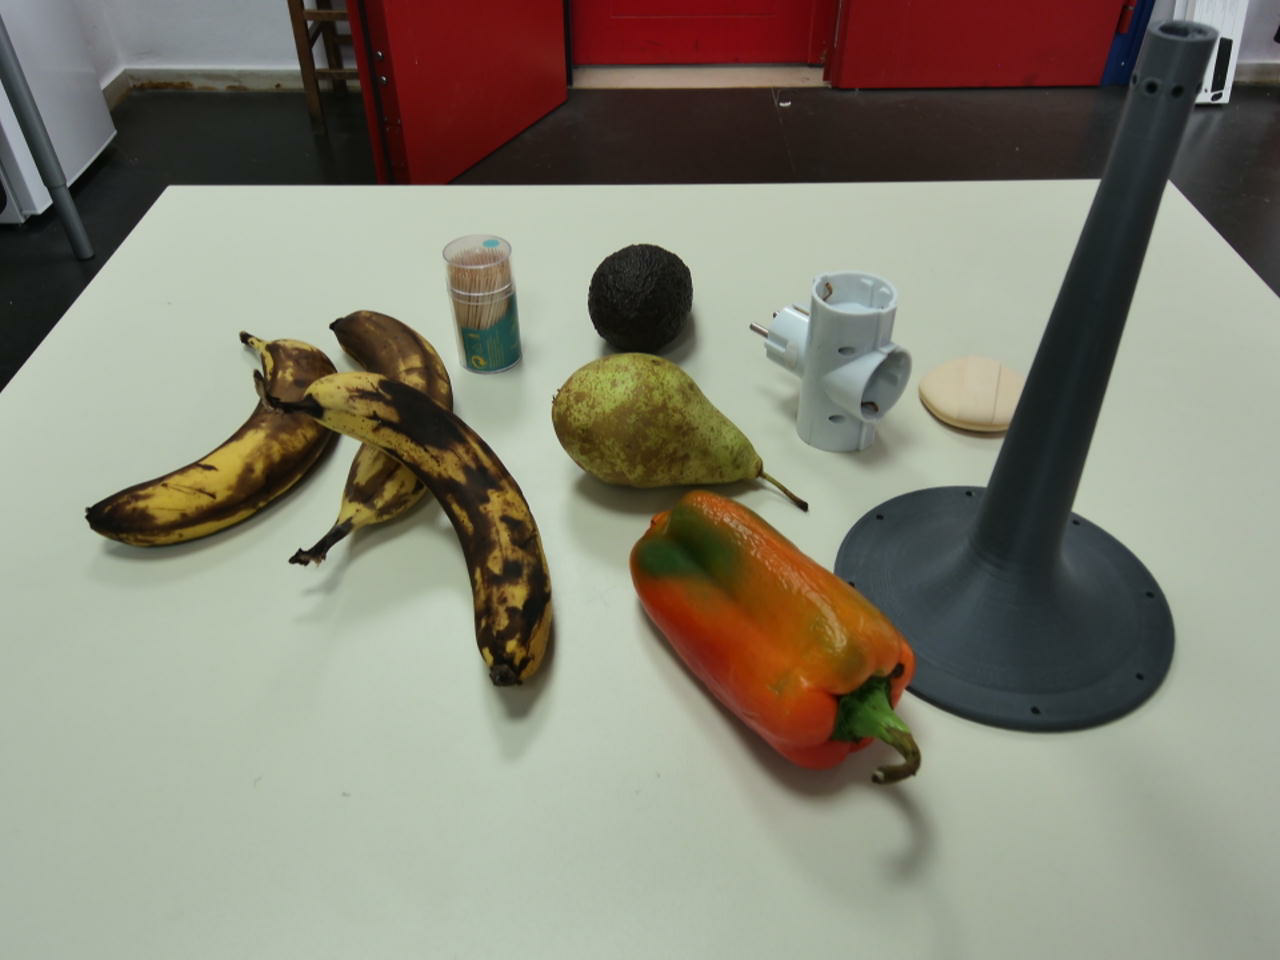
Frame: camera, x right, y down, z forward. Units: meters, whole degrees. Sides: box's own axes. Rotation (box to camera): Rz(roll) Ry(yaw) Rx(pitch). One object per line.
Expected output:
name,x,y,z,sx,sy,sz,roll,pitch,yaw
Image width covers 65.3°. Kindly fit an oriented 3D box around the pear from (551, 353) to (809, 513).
pear,0.018,-0.031,0.521,0.128,0.075,0.071,-5,39,-6
